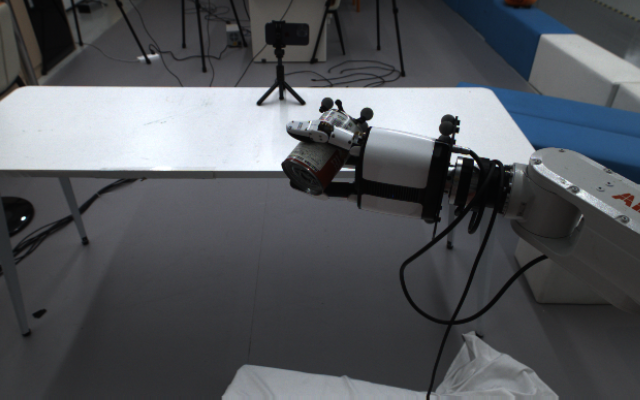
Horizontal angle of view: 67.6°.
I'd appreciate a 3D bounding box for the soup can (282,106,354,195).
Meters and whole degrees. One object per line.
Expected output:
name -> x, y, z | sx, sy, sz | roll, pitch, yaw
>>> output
soup can -> 0.005, -0.066, 0.657 | 0.067, 0.067, 0.101 | 25, 66, 30
